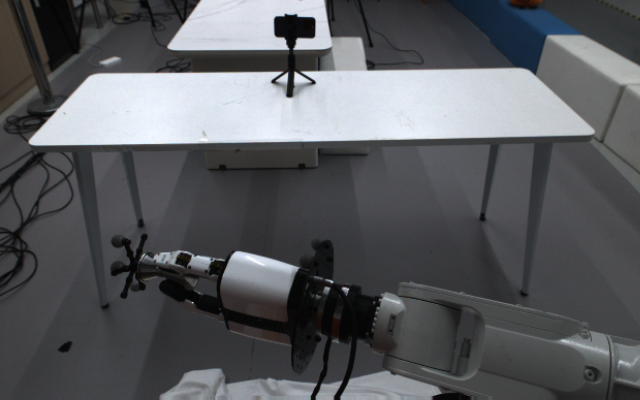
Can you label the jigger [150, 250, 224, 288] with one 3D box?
[{"bbox_3d":[-0.189,0.089,0.631,0.071,0.043,0.043,5,35,13],"label":"jigger"}]
